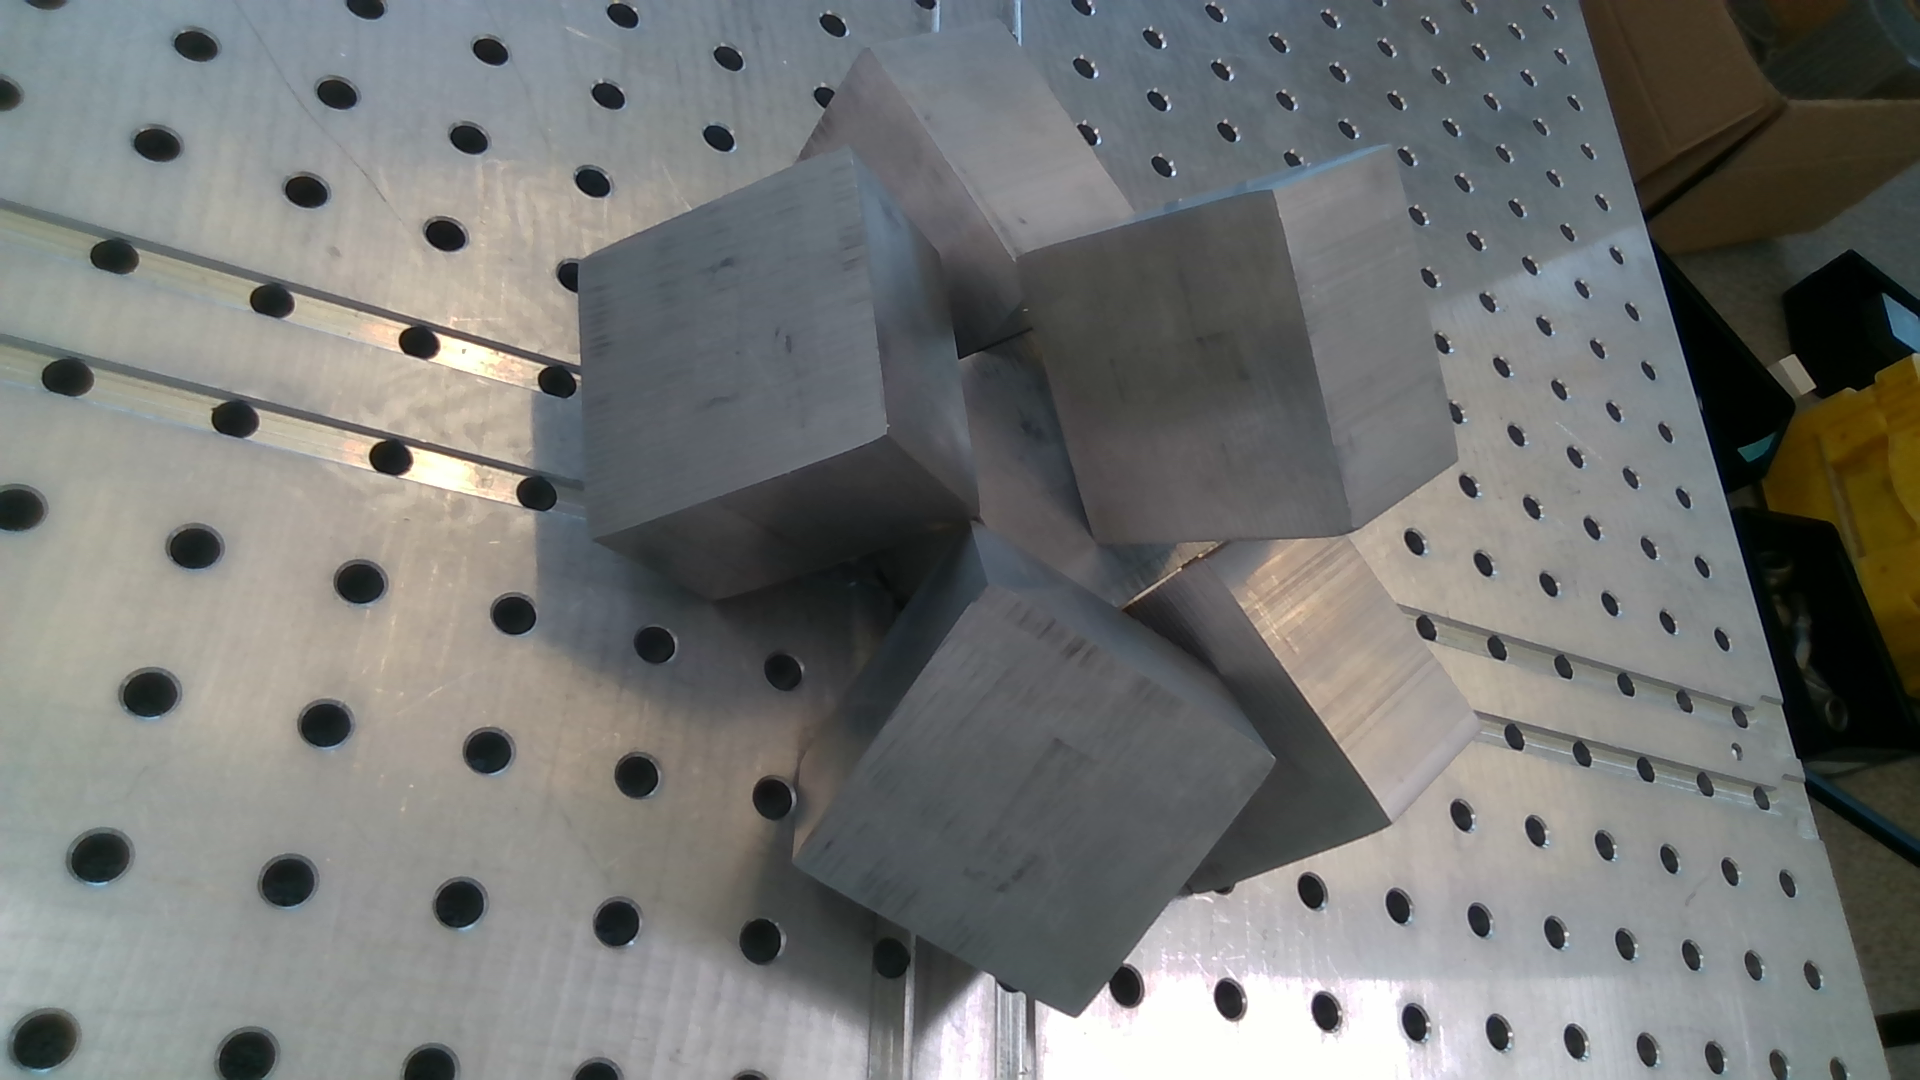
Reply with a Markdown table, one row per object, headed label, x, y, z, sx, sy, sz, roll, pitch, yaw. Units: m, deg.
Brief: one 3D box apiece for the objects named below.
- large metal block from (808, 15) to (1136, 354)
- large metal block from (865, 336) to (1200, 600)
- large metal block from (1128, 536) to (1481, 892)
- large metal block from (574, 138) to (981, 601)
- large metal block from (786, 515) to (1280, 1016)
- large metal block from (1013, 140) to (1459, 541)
| label | x | y | z | sx | sy | sz | roll | pitch | yaw |
| --- | --- | --- | --- | --- | --- | --- | --- | --- | --- |
| large metal block | -0.002 | -0.092 | 0.407 | 0.050 | 0.080 | 0.080 | -28 | 82 | -38 |
| large metal block | 0.019 | -0.011 | 0.399 | 0.080 | 0.050 | 0.080 | -29 | 83 | -39 |
| large metal block | 0.081 | 0.043 | 0.387 | 0.050 | 0.080 | 0.080 | -30 | 83 | -38 |
| large metal block | -0.047 | -0.039 | 0.344 | 0.050 | 0.080 | 0.080 | 38 | 39 | -59 |
| large metal block | 0.015 | 0.053 | 0.332 | 0.080 | 0.080 | 0.050 | 32 | 12 | -13 |
| large metal block | 0.069 | -0.047 | 0.347 | 0.050 | 0.080 | 0.080 | -28 | 107 | -39 |
